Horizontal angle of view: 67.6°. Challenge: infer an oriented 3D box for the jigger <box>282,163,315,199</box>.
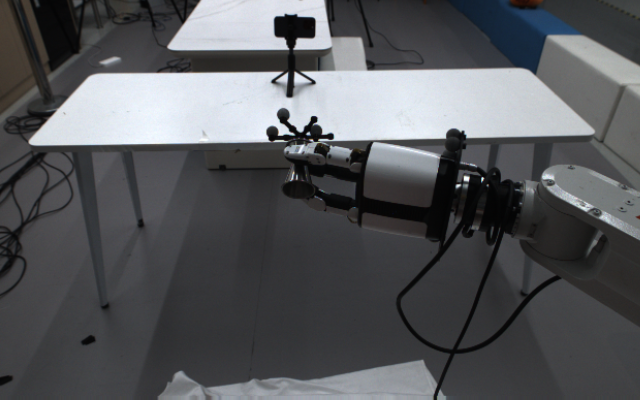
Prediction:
[{"bbox_3d":[-0.027,-0.044,0.624,0.043,0.043,0.071,2,59,-1],"label":"jigger"}]
